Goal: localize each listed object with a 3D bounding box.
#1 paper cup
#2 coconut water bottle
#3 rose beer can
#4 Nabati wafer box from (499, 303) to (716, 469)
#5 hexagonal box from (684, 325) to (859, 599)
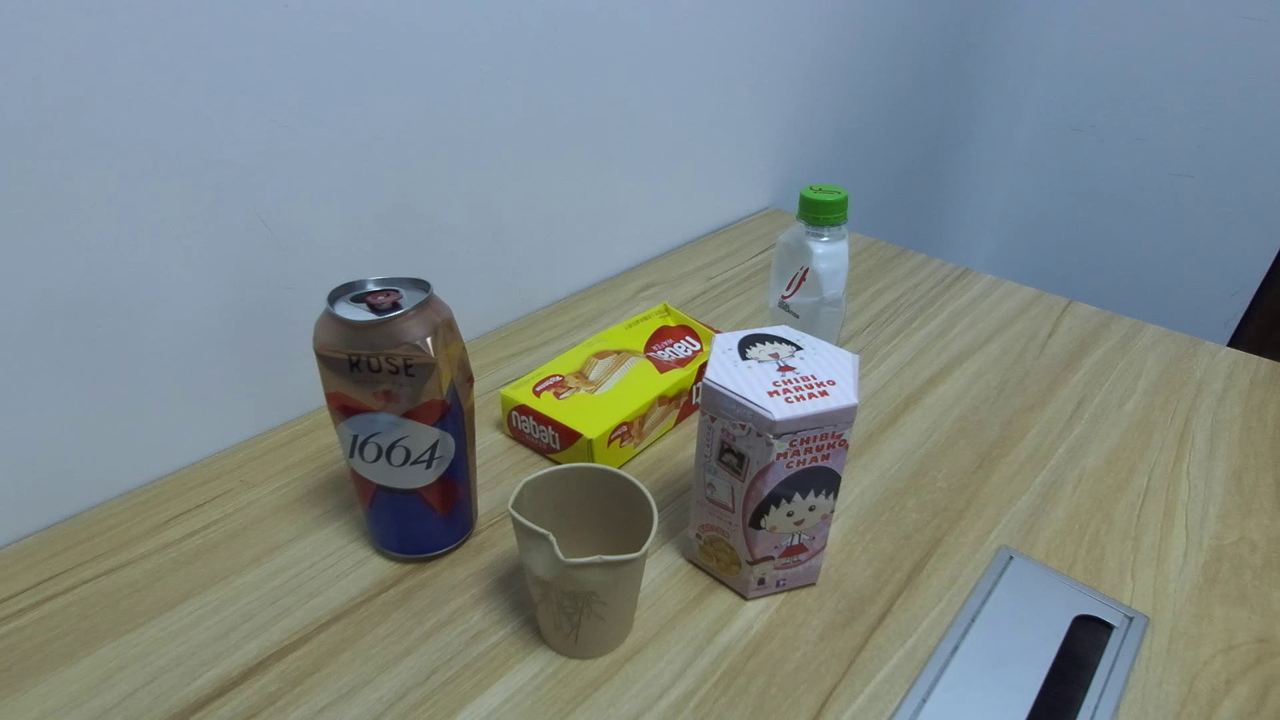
[{"bbox_3d":[-0.030,0.109,0.375,0.073,0.081,0.068,-4,32,-11],"label":"paper cup"},{"bbox_3d":[0.114,-0.027,0.492,0.067,0.187,0.067,2,30,-1],"label":"coconut water bottle"},{"bbox_3d":[-0.134,0.036,0.408,0.075,0.167,0.065,8,31,16],"label":"rose beer can"},{"bbox_3d":[-0.003,0.014,0.560,0.096,0.042,0.204,23,39,34],"label":"Nabati wafer box"},{"bbox_3d":[0.073,0.060,0.402,0.091,0.136,0.083,-9,34,-16],"label":"hexagonal box"}]
